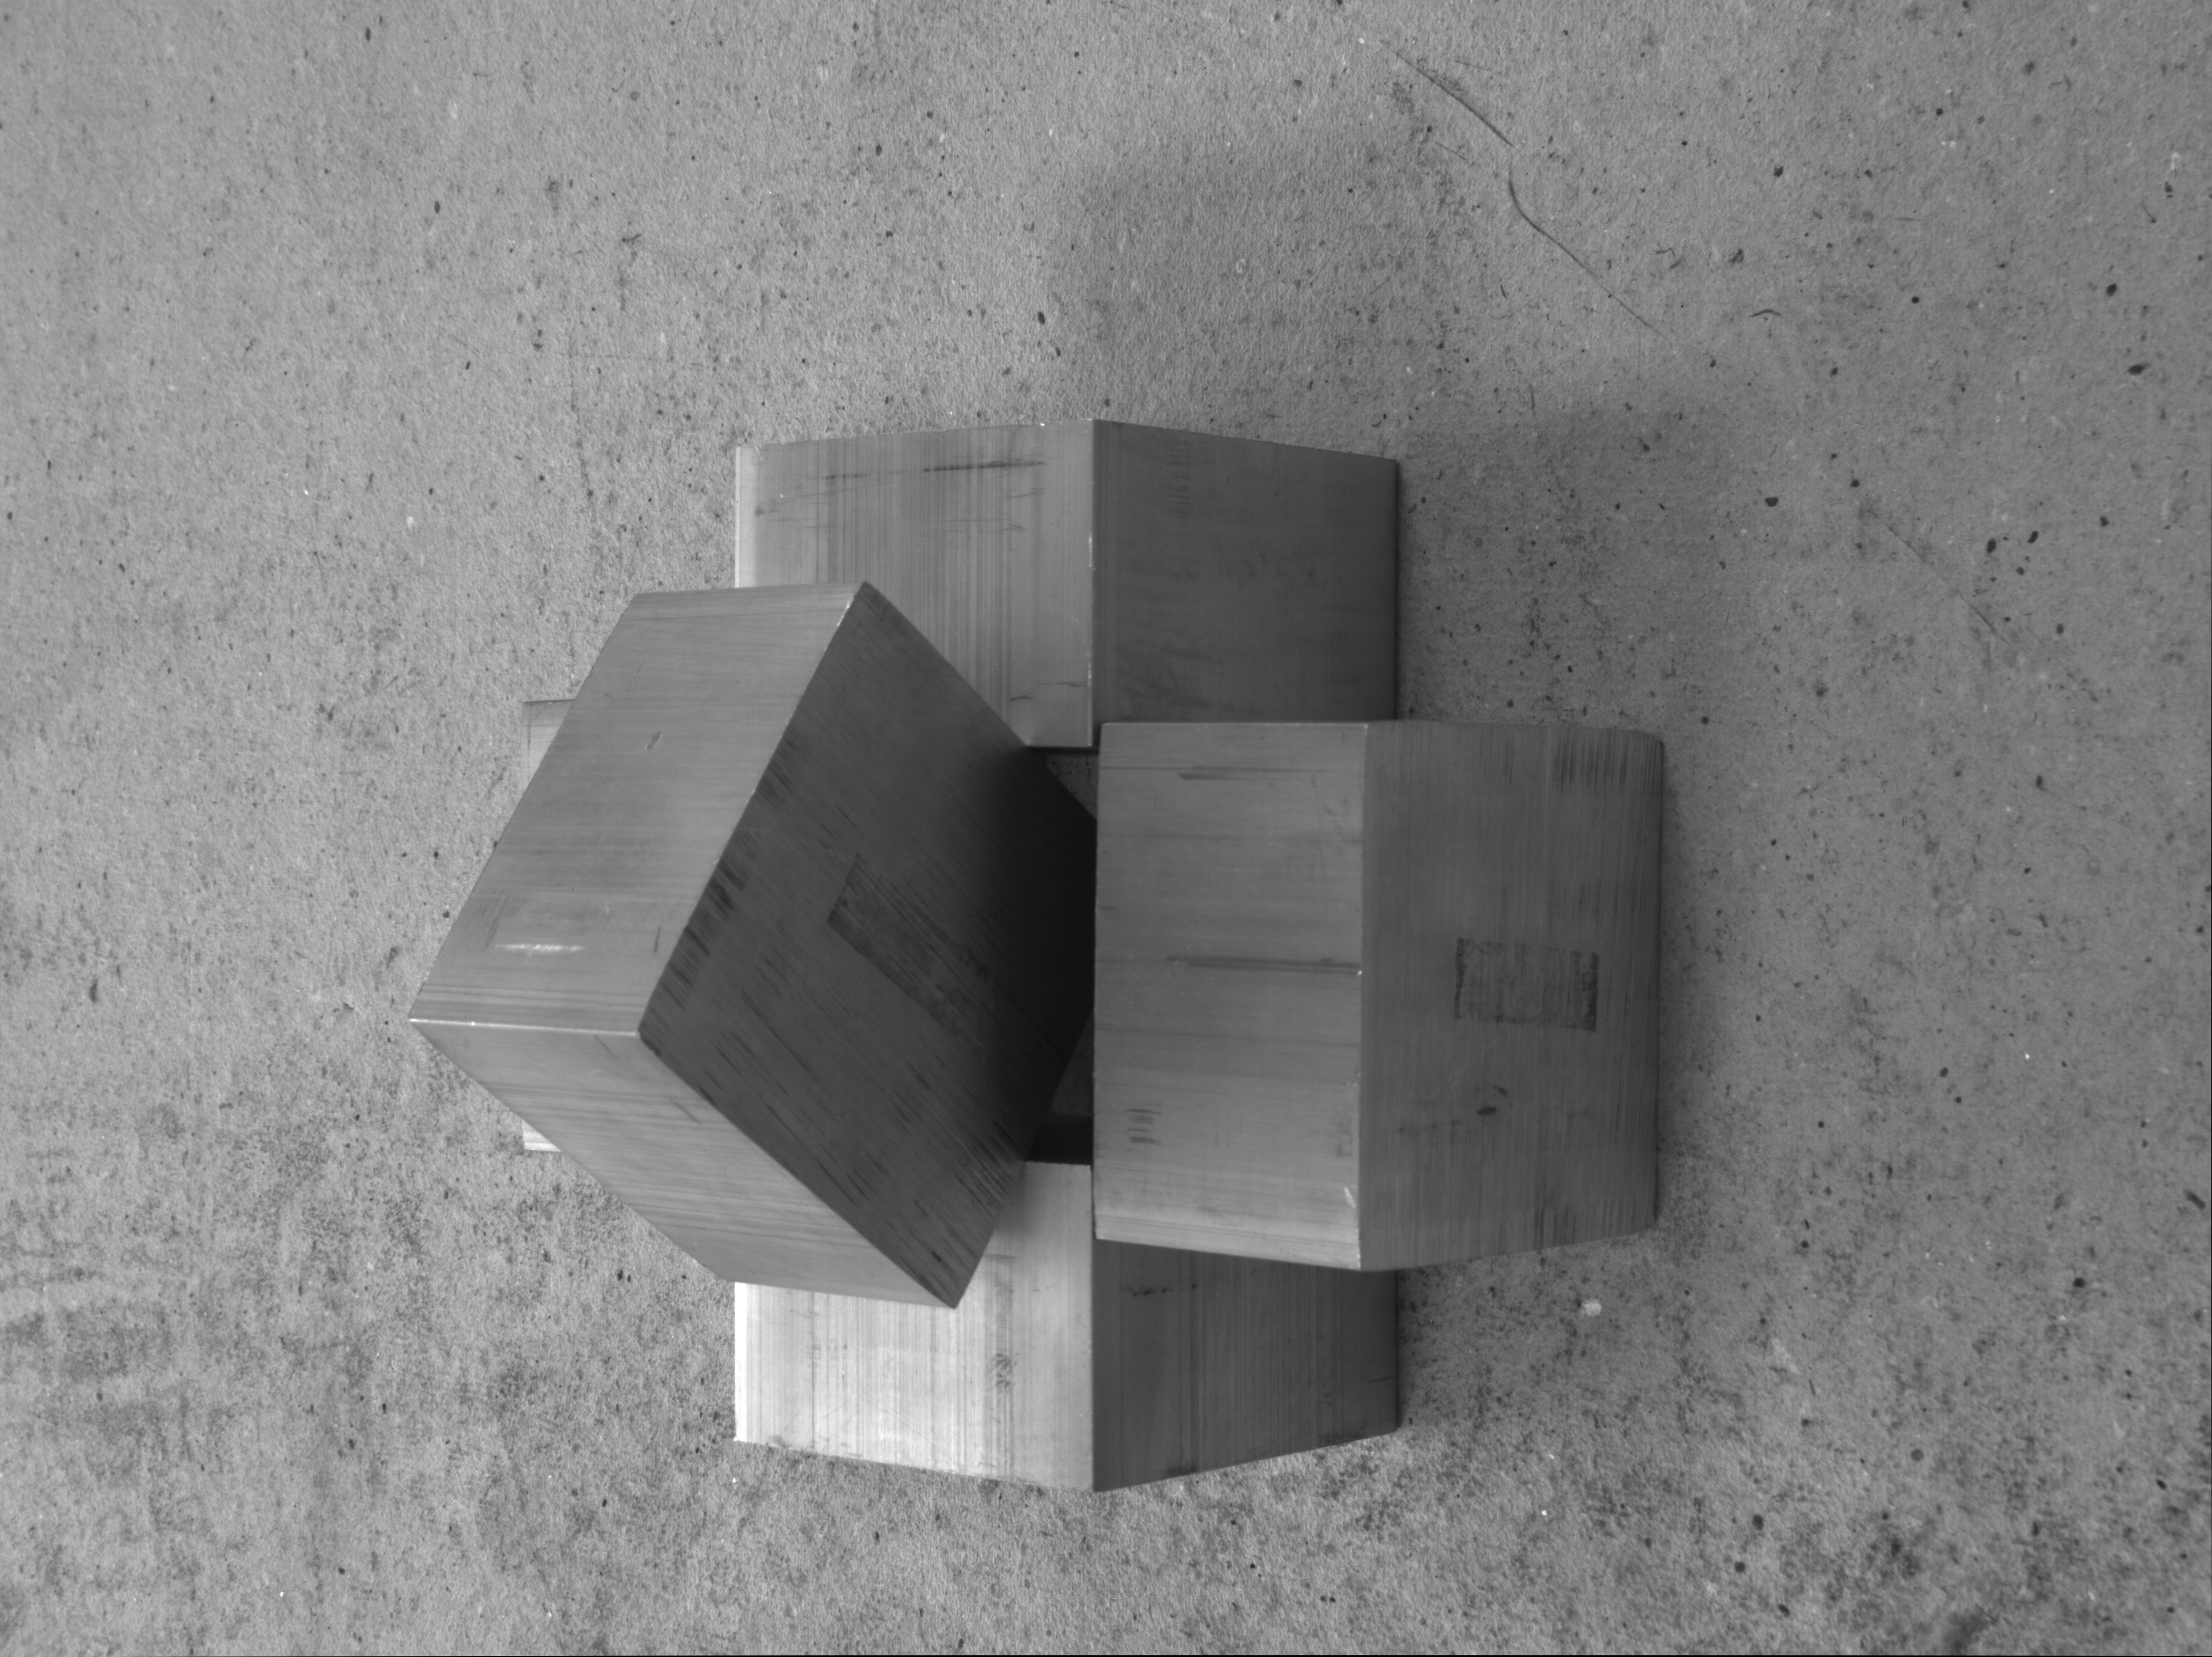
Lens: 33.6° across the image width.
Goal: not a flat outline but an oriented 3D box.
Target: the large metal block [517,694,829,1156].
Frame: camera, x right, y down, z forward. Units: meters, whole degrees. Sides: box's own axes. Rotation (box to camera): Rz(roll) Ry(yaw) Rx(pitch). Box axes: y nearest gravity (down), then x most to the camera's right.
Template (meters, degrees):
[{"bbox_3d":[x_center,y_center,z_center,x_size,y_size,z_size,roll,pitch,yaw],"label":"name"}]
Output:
[{"bbox_3d":[-0.058,0.017,0.657,0.050,0.080,0.080,0,90,40],"label":"large metal block"}]

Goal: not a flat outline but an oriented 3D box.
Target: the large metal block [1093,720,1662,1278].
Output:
[{"bbox_3d":[0.043,0.024,0.572,0.050,0.080,0.080,1,91,40],"label":"large metal block"}]

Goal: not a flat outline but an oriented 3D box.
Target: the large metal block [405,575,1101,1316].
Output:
[{"bbox_3d":[-0.048,0.018,0.564,0.050,0.080,0.080,1,56,40],"label":"large metal block"}]

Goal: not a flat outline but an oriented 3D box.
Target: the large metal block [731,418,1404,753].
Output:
[{"bbox_3d":[-0.006,-0.038,0.615,0.080,0.080,0.050,1,91,40],"label":"large metal block"}]

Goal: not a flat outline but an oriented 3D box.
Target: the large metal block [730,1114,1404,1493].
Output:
[{"bbox_3d":[-0.006,0.077,0.615,0.080,0.080,0.050,0,89,40],"label":"large metal block"}]
